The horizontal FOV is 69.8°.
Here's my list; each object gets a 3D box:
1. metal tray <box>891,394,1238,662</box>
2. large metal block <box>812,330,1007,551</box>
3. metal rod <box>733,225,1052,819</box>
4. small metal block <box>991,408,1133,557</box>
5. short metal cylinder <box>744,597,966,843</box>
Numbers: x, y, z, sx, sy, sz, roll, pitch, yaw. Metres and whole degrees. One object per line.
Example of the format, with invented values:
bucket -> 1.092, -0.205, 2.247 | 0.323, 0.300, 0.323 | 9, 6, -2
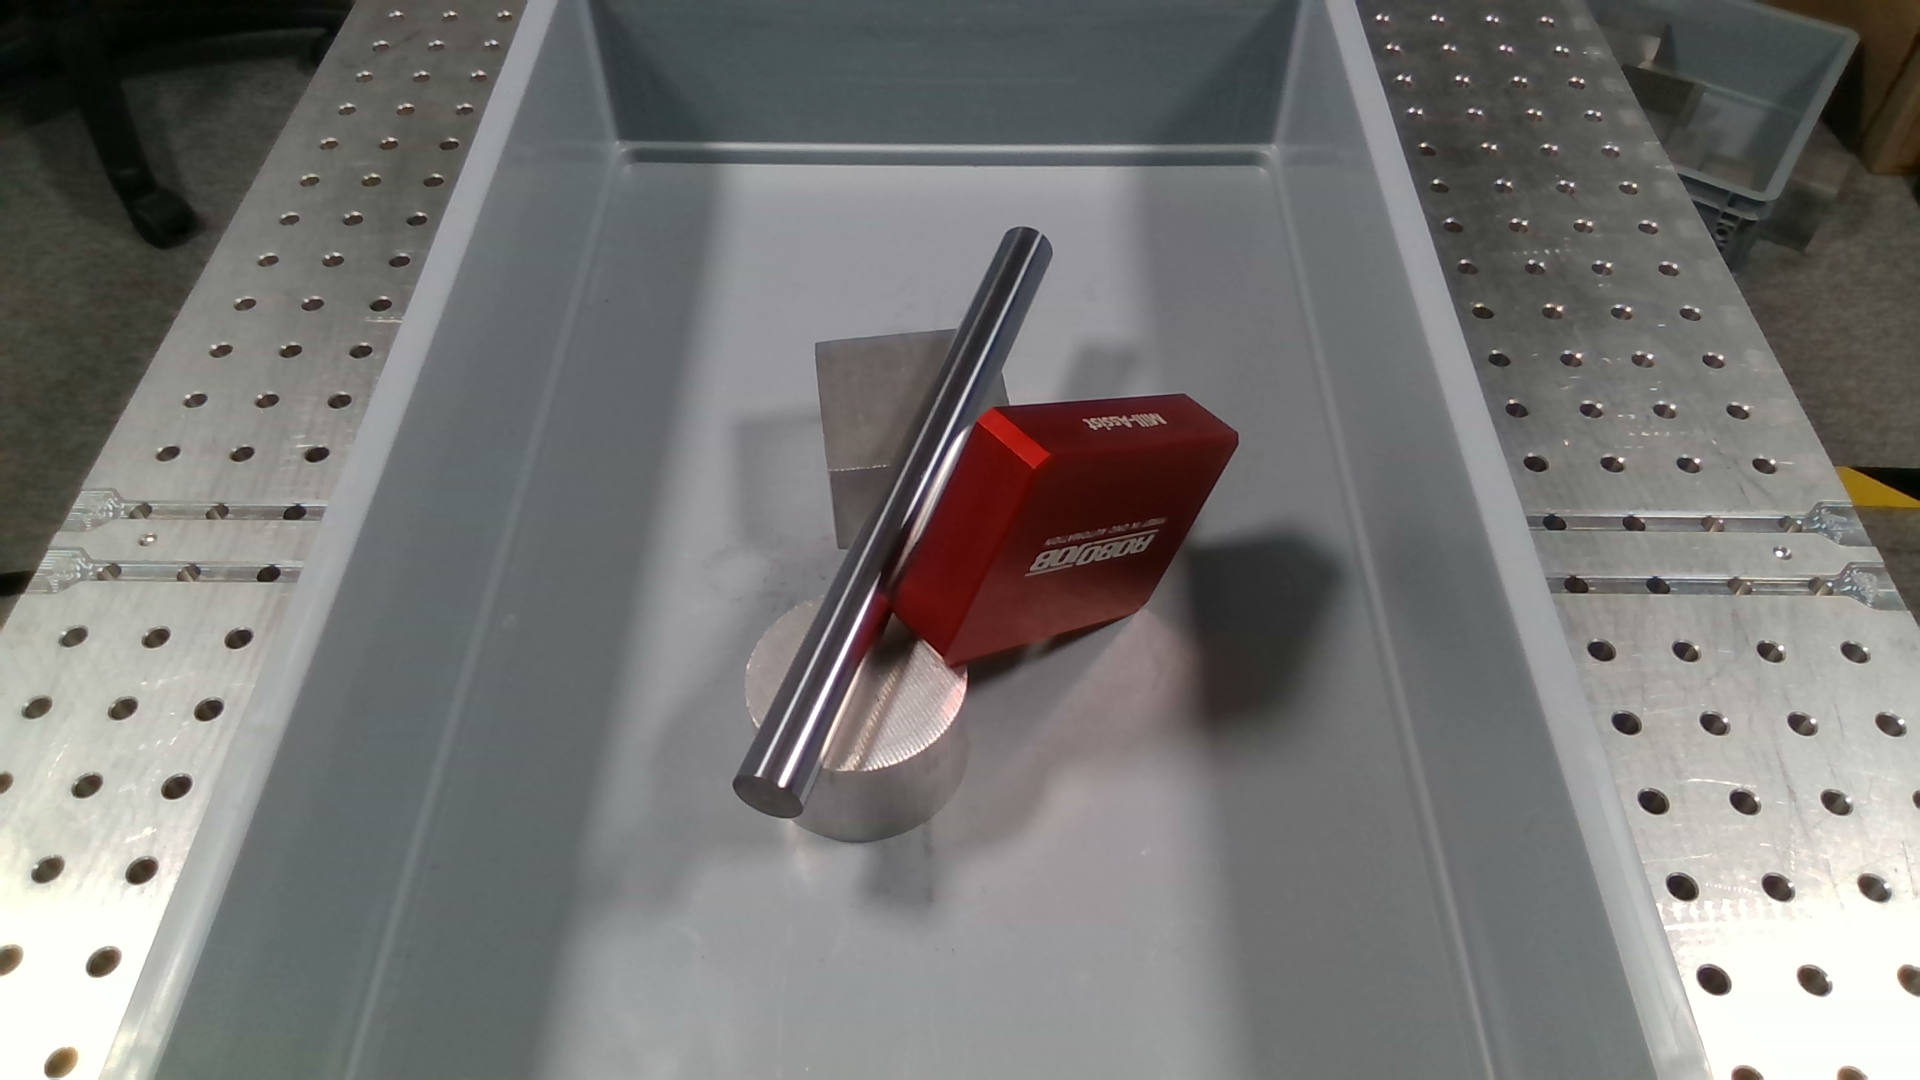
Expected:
metal tray -> 0.042, -0.007, 0.517 | 0.130, 0.090, 0.030 | -10, 44, -48
large metal block -> -0.020, -0.046, 0.608 | 0.080, 0.050, 0.080 | -6, 50, -5
metal rod -> -0.016, -0.025, 0.540 | 0.025, 0.025, 0.299 | 14, 52, 12
small metal block -> 0.042, -0.022, 0.560 | 0.050, 0.025, 0.050 | 7, 73, -37
short metal cylinder -> -0.038, 0.065, 0.515 | 0.080, 0.050, 0.080 | 0, 50, 0
